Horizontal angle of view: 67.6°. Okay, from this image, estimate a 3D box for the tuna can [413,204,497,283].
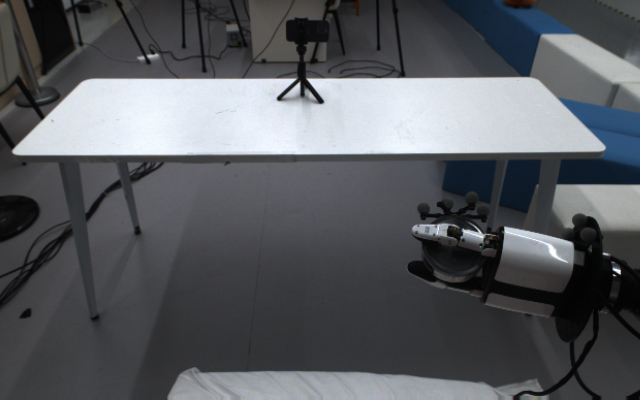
[{"bbox_3d":[0.180,0.061,0.643,0.085,0.034,0.085,-4,60,8],"label":"tuna can"}]
